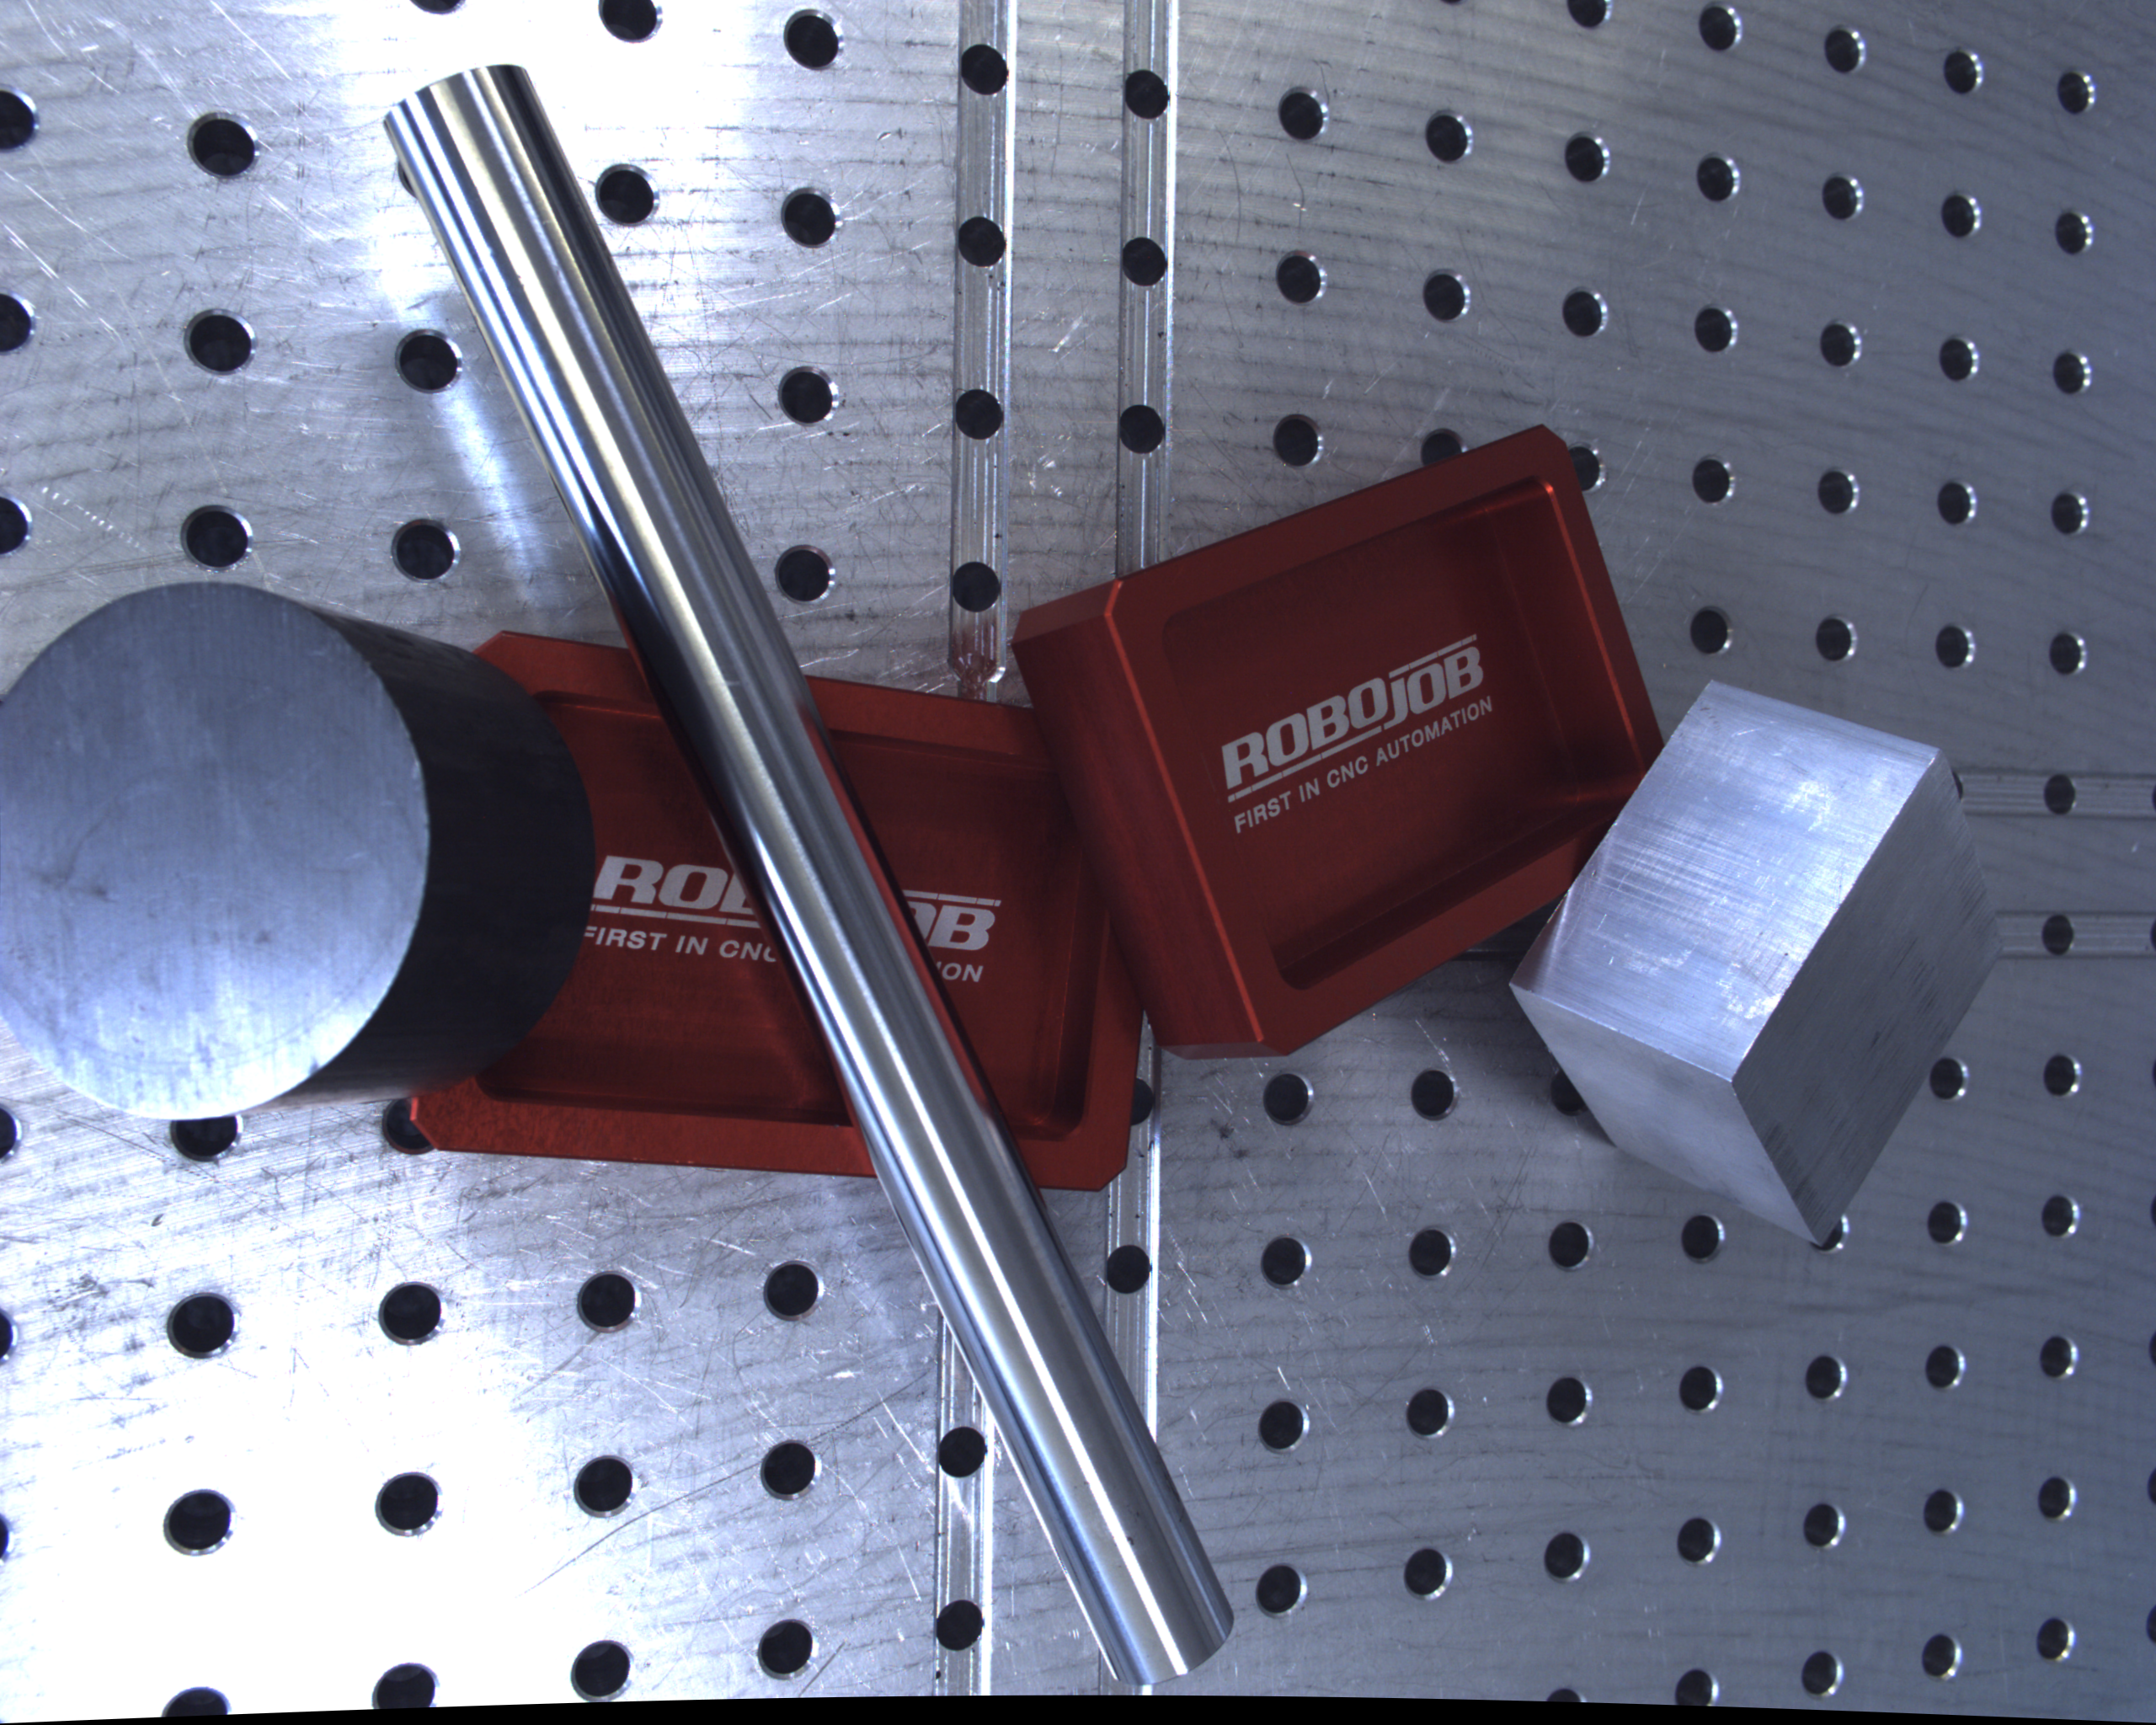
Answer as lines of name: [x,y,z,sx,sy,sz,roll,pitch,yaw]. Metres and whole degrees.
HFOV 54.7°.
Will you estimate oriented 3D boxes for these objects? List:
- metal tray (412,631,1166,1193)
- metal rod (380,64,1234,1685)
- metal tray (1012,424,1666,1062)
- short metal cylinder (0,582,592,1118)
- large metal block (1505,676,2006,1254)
metal tray: [-0.052,0.011,0.390,0.131,0.030,0.089,7,88,-20]
metal rod: [-0.043,0.010,0.365,0.025,0.025,0.299,-27,99,-18]
metal tray: [0.058,-0.026,0.411,0.131,0.030,0.090,-25,99,-35]
short metal cylinder: [-0.126,-0.001,0.333,0.080,0.050,0.080,-1,86,15]
large metal block: [0.143,0.022,0.433,0.080,0.050,0.080,-53,137,-12]
